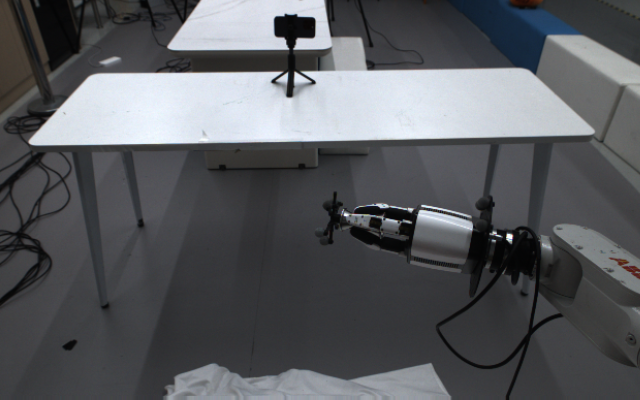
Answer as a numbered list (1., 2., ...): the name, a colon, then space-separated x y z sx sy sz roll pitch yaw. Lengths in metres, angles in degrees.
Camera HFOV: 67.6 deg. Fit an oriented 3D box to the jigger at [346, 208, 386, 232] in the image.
1. jigger: 0.076 0.032 0.783 0.071 0.043 0.043 8 35 15
